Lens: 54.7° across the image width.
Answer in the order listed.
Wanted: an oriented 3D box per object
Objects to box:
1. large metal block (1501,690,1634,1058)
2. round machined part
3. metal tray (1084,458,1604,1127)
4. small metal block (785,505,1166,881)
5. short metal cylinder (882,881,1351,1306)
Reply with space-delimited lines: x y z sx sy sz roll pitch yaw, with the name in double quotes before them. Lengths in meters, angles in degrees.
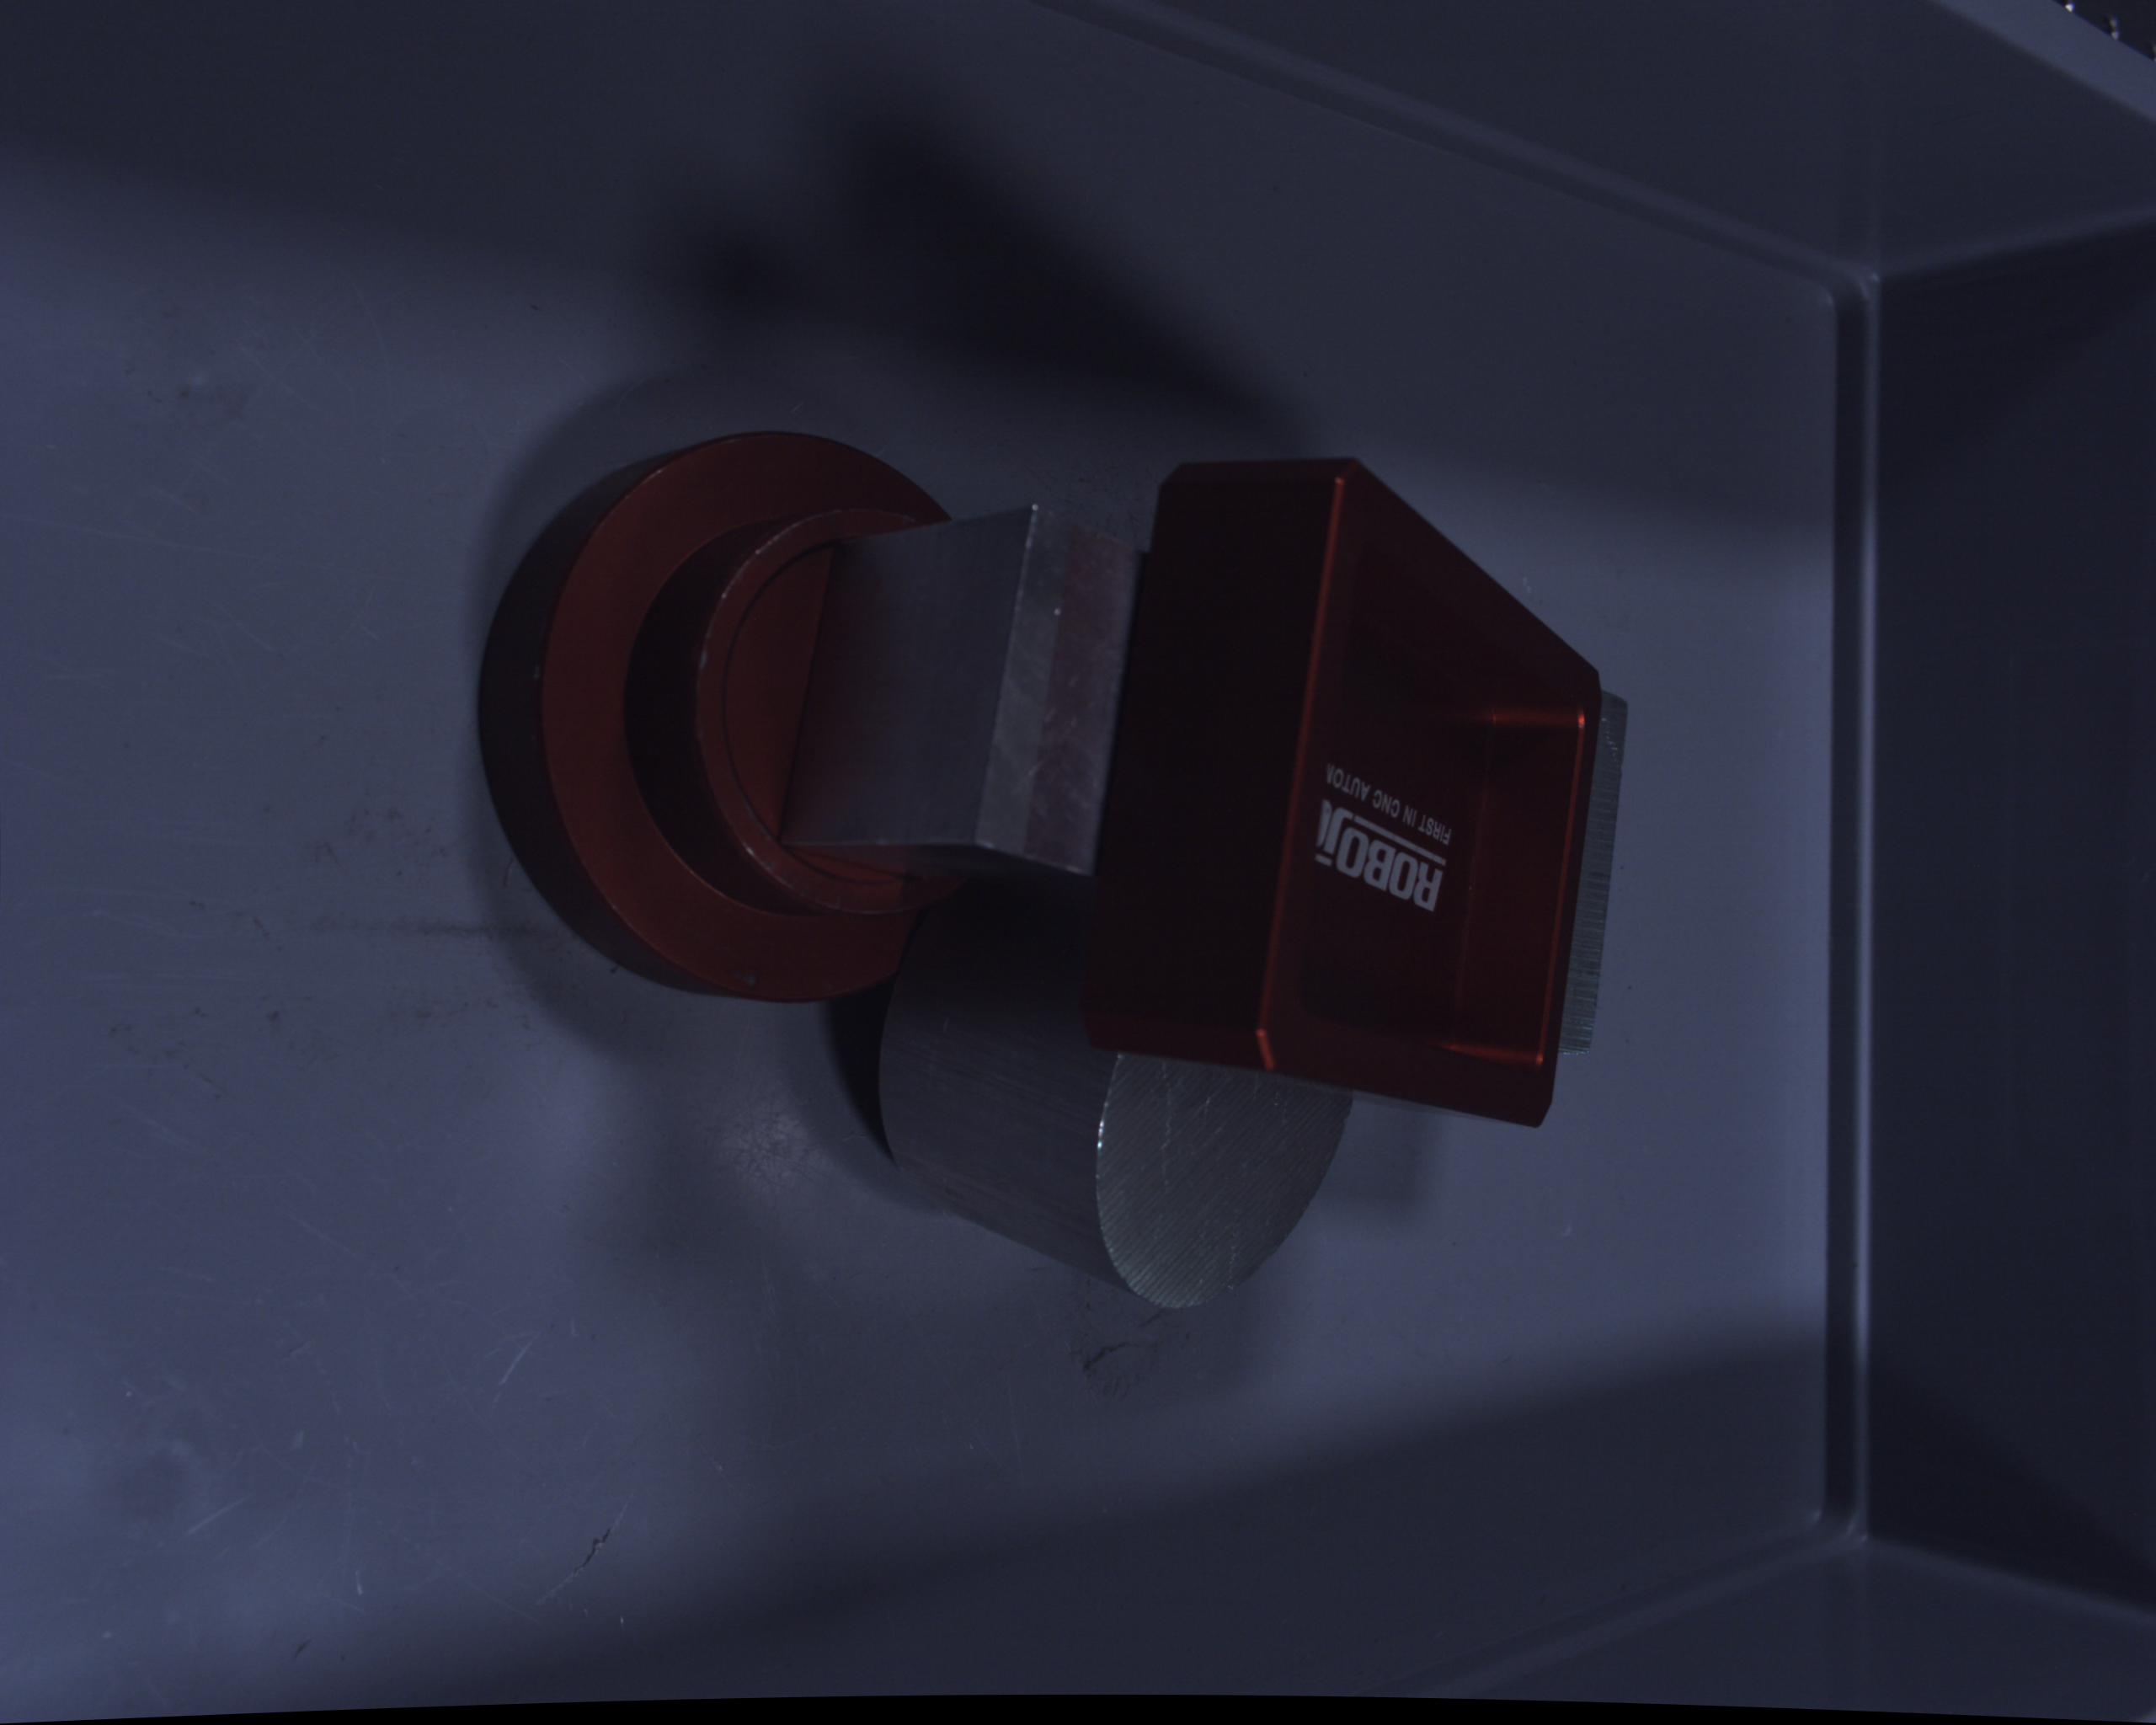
"large metal block" 0.071 -0.004 0.448 0.081 0.050 0.080 13 82 -40
"round machined part" -0.046 -0.025 0.356 0.099 0.042 0.097 0 90 -40
"metal tray" 0.052 -0.005 0.355 0.131 0.030 0.090 19 77 -58
"small metal block" -0.016 -0.024 0.321 0.025 0.050 0.050 16 80 -39
"short metal cylinder" 0.010 0.035 0.384 0.081 0.050 0.079 -23 121 -46
